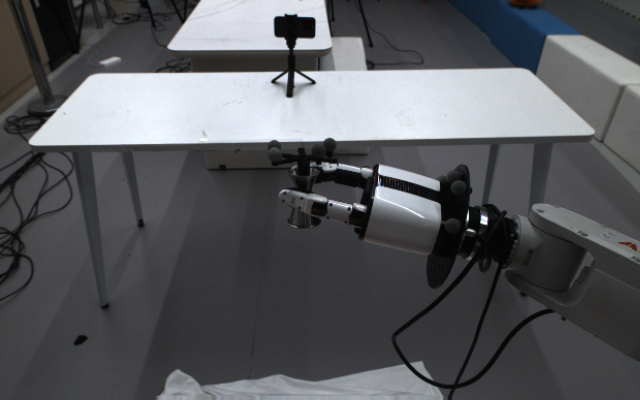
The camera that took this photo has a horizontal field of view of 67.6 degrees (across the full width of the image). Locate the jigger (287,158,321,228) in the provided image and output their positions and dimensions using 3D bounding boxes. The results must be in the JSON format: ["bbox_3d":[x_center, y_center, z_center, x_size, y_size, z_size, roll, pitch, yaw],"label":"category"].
[{"bbox_3d":[-0.020,-0.004,0.611,0.043,0.071,0.043,0,21,0],"label":"jigger"}]
